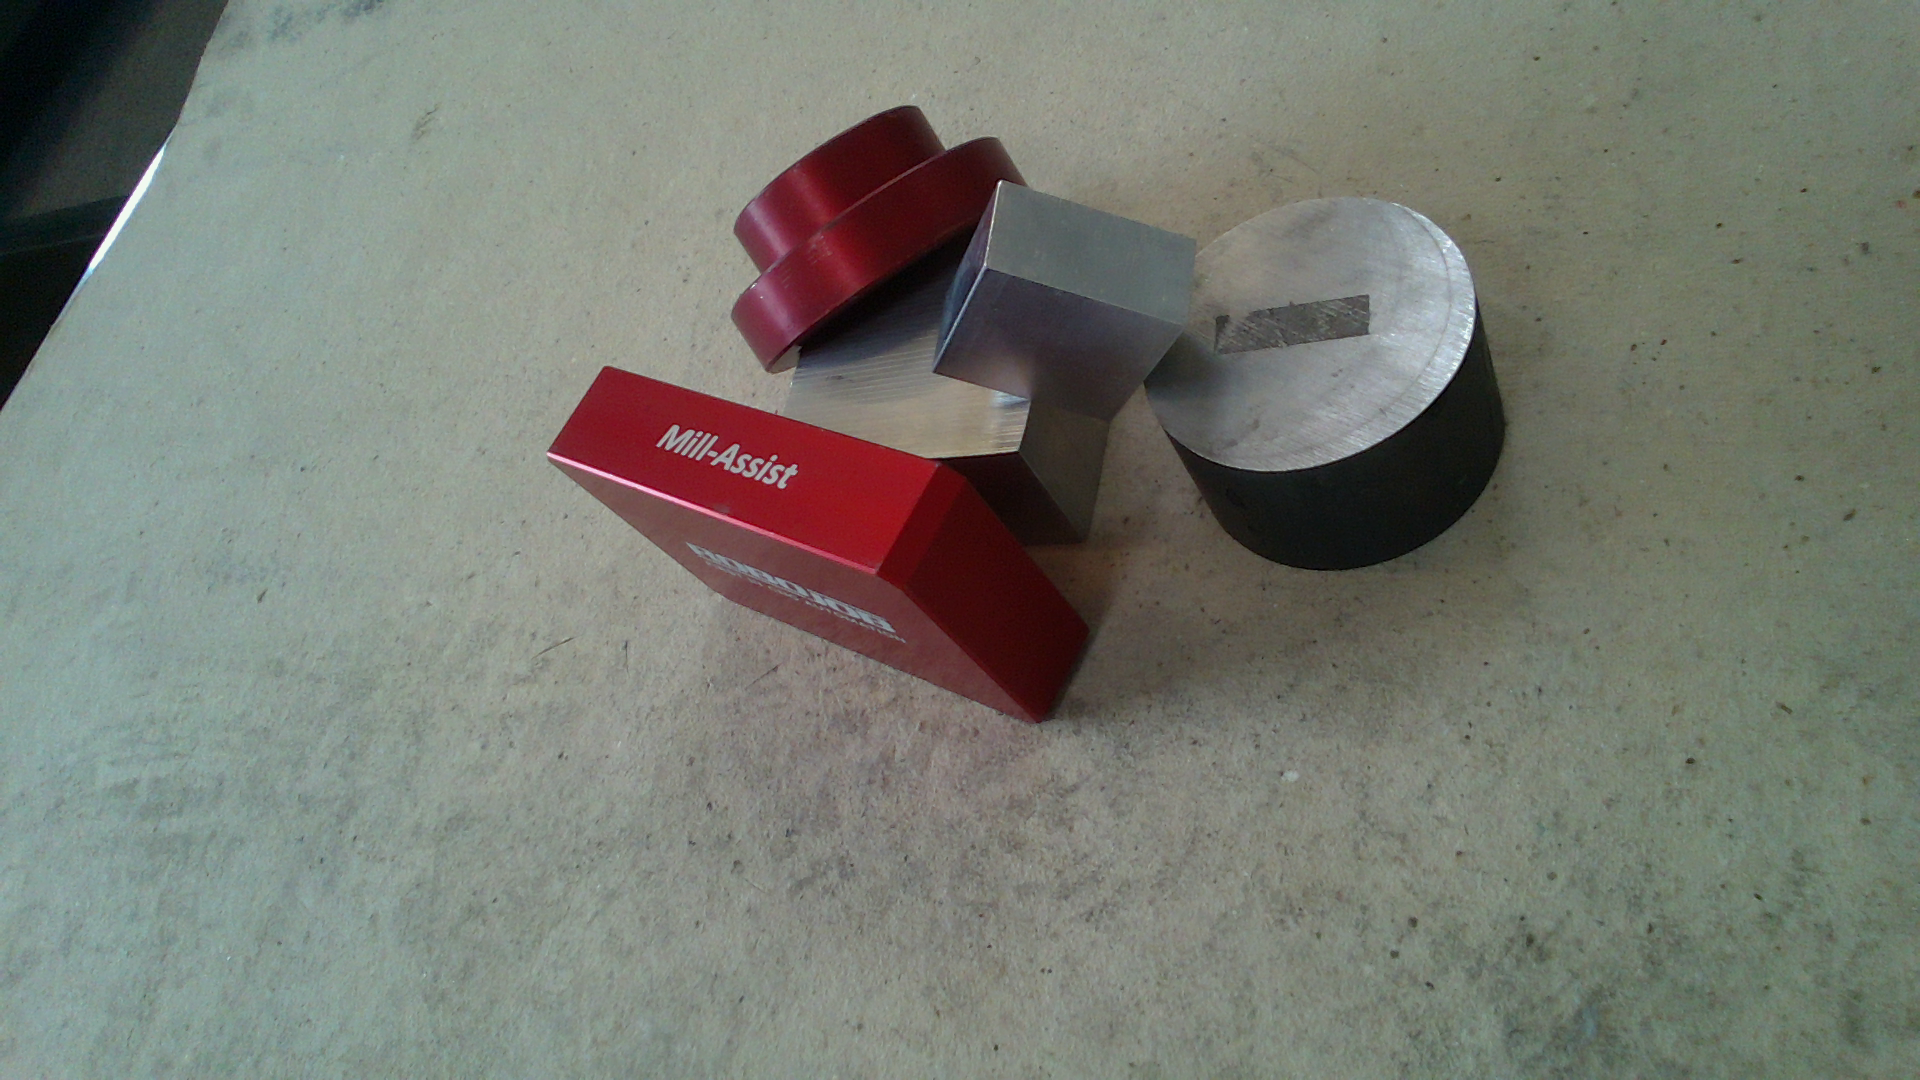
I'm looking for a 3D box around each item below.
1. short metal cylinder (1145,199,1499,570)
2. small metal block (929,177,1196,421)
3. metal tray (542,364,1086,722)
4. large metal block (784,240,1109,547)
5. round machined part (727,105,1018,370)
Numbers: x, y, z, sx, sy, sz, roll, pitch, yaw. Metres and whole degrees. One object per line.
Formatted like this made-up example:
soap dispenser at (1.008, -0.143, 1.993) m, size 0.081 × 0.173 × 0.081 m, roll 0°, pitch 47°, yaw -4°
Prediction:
short metal cylinder at (0.093, -0.039, 0.353) m, size 0.080 × 0.050 × 0.080 m, roll -13°, pitch 56°, yaw 21°
small metal block at (0.024, -0.058, 0.341) m, size 0.050 × 0.050 × 0.025 m, roll 14°, pitch 65°, yaw -11°
metal tray at (-0.040, 0.000, 0.373) m, size 0.129 × 0.090 × 0.030 m, roll 18°, pitch 72°, yaw 35°
large metal block at (-0.001, -0.045, 0.407) m, size 0.080 × 0.050 × 0.080 m, roll -2°, pitch 61°, yaw 28°
round machined part at (-0.030, -0.096, 0.421) m, size 0.098 × 0.098 × 0.042 m, roll -32°, pitch 95°, yaw 8°
